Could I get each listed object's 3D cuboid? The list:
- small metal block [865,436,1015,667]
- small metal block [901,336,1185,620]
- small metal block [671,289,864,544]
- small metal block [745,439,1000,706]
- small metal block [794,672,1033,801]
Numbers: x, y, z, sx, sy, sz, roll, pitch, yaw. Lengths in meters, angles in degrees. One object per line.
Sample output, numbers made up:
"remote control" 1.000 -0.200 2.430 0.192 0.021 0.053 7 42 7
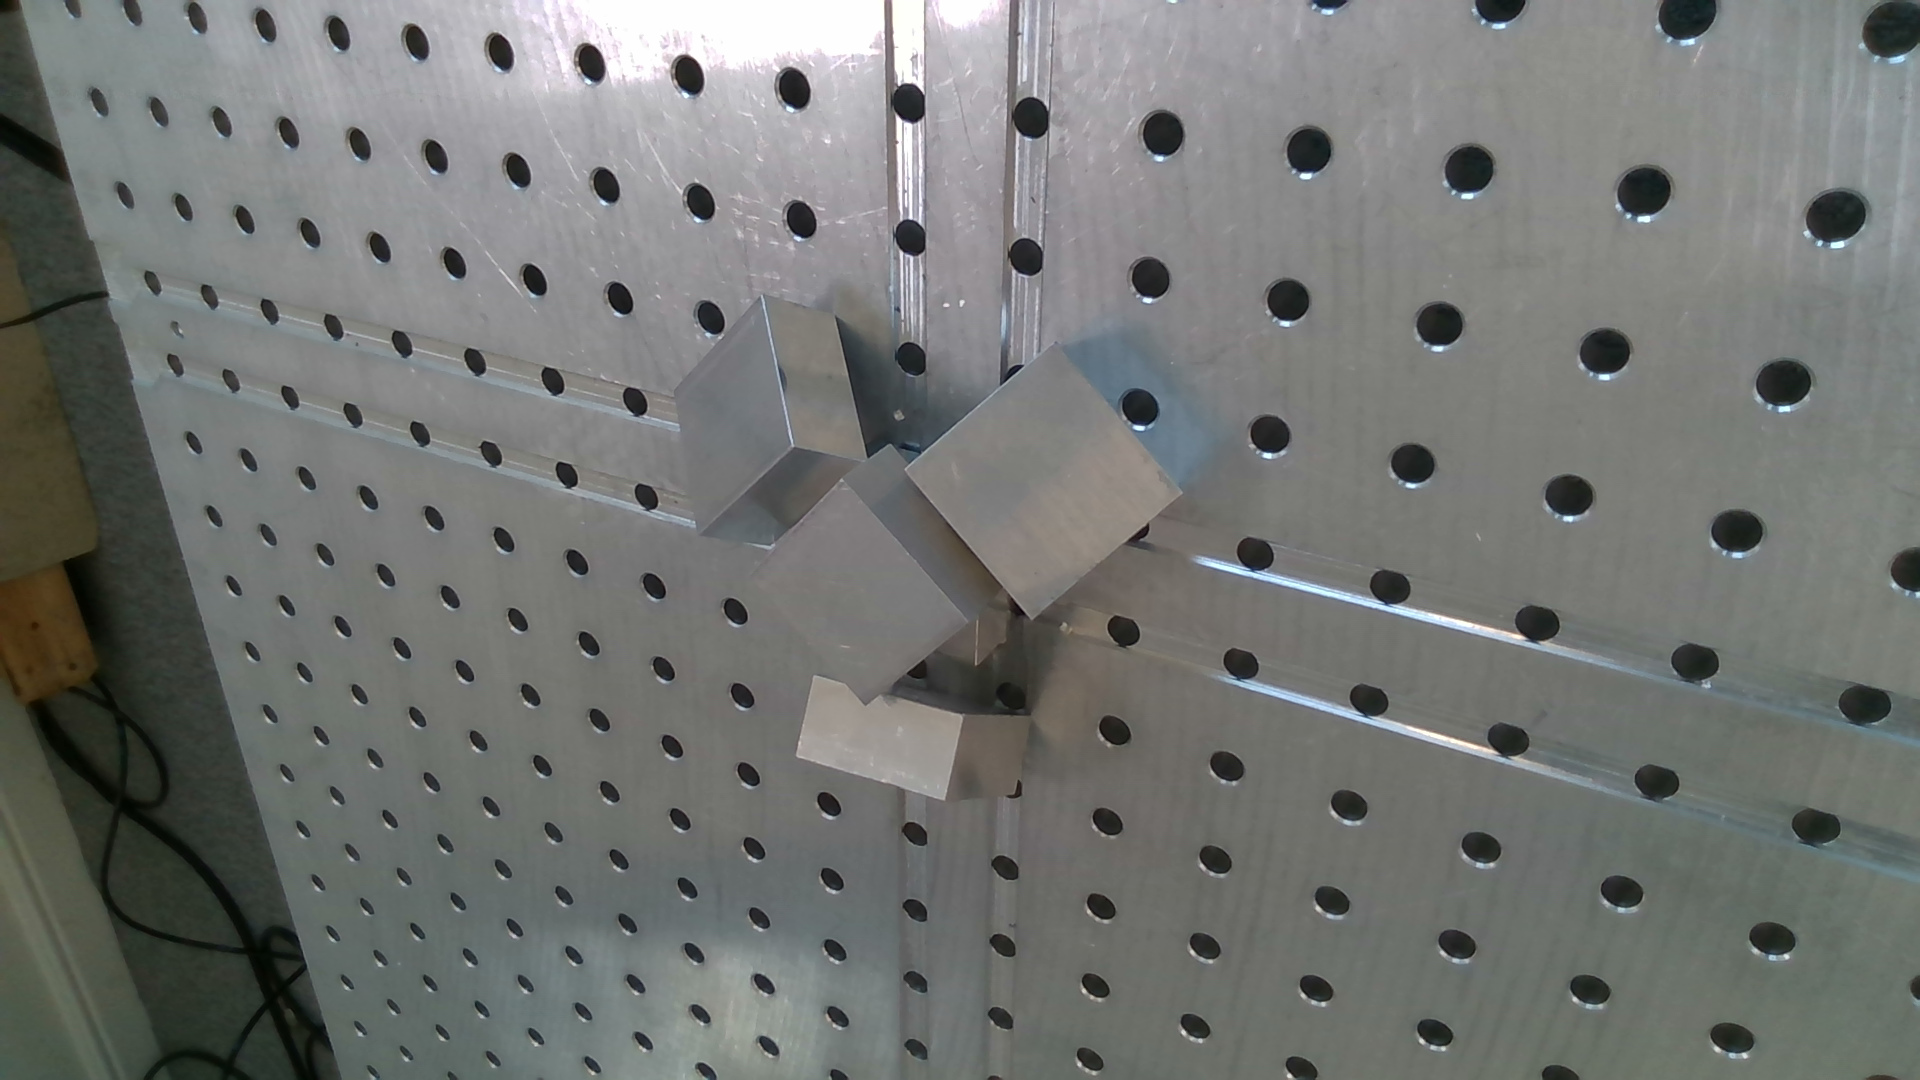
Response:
"small metal block" -0.011 0.003 0.400 0.050 0.025 0.050 17 123 26
"small metal block" 0.021 -0.016 0.354 0.050 0.025 0.050 -40 91 4
"small metal block" -0.056 -0.034 0.391 0.050 0.025 0.050 -37 56 39
"small metal block" -0.023 0.010 0.378 0.050 0.025 0.050 48 130 0
"small metal block" -0.013 0.058 0.412 0.050 0.050 0.025 11 88 26
